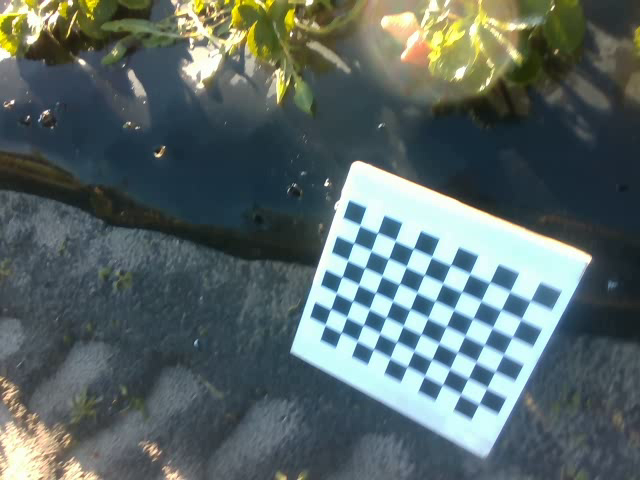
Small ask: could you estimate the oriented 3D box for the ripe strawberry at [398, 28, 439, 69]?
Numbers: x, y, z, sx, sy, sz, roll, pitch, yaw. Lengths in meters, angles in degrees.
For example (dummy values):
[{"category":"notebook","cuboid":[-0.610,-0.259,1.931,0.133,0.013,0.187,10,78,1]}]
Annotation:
[{"category":"ripe strawberry","cuboid":[0.093,-0.192,0.881,0.055,0.037,0.040,-14,19,-32]}]
